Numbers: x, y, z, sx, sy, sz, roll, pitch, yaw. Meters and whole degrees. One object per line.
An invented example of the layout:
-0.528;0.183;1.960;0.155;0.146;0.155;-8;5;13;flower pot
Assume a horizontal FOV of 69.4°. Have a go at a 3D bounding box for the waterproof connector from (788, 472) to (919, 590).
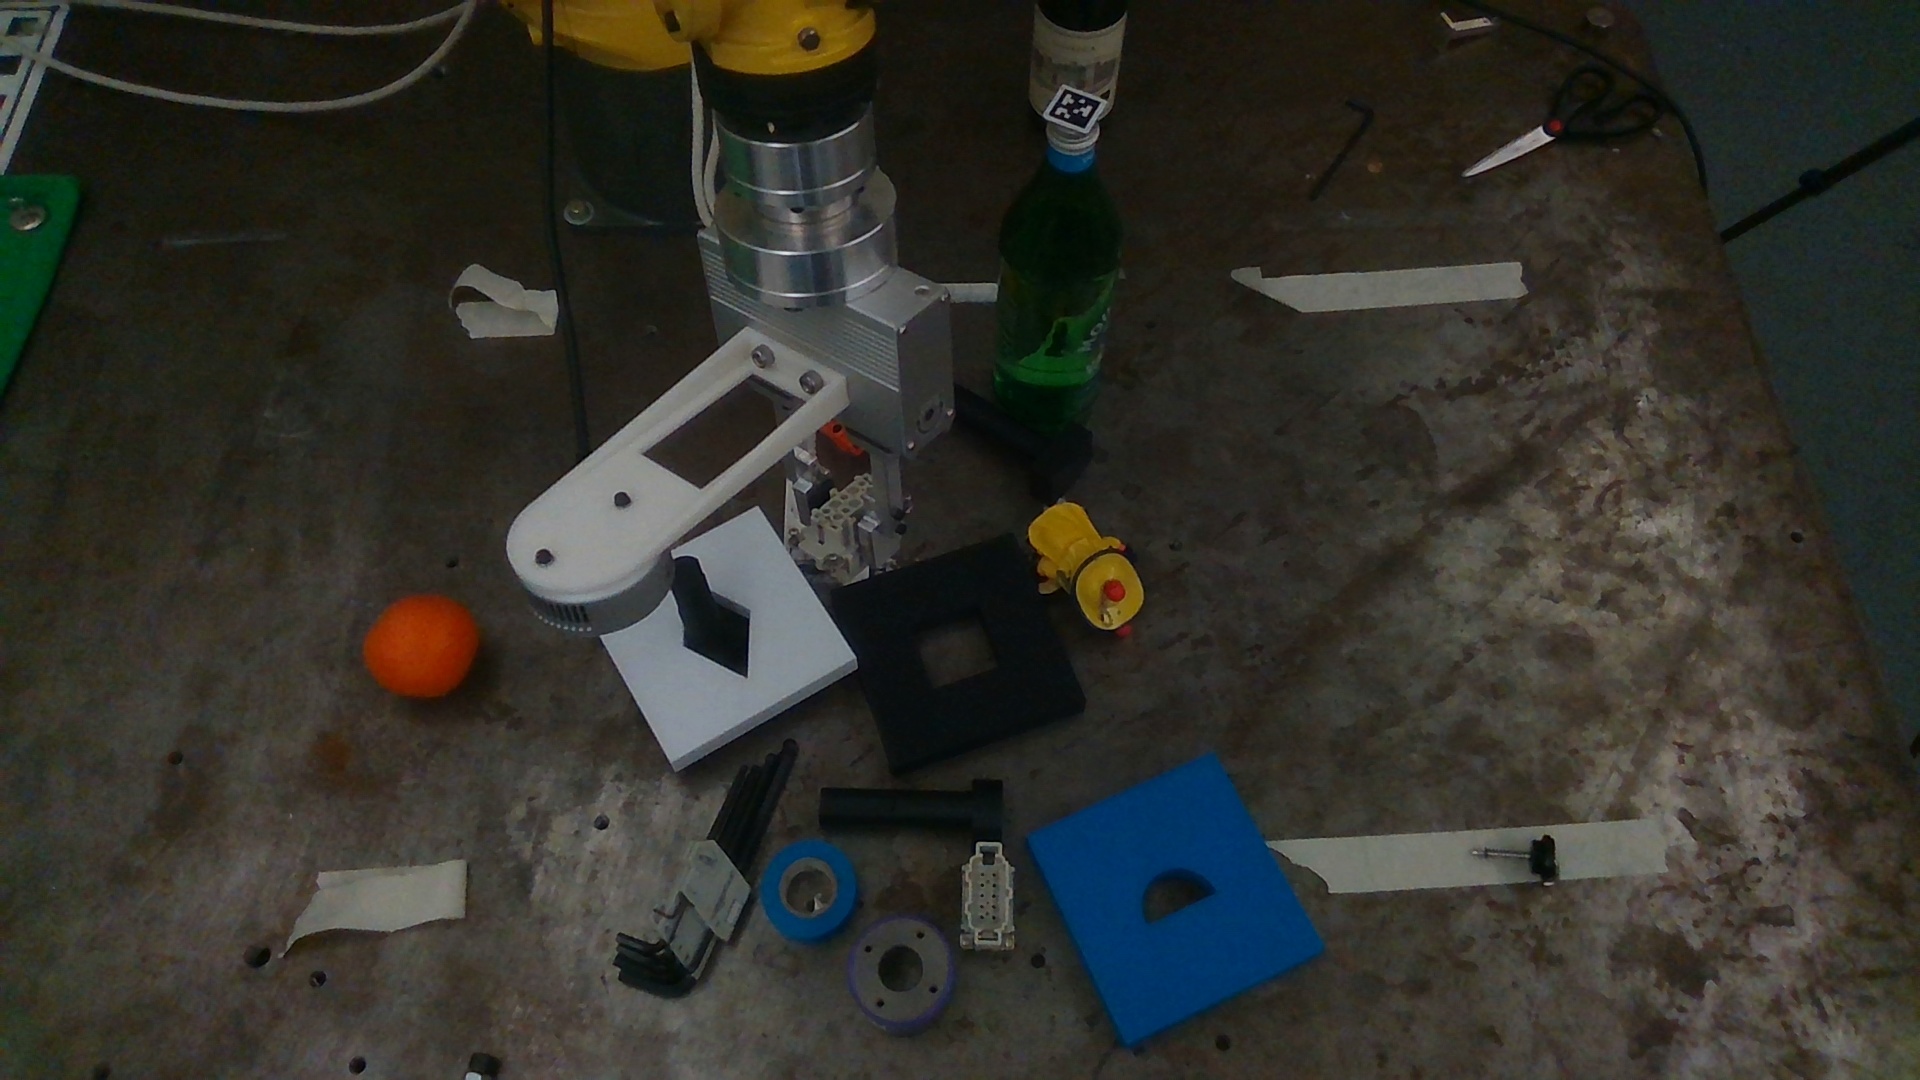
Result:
-0.056;-0.007;0.717;0.037;0.038;0.069;35;58;21;waterproof connector
